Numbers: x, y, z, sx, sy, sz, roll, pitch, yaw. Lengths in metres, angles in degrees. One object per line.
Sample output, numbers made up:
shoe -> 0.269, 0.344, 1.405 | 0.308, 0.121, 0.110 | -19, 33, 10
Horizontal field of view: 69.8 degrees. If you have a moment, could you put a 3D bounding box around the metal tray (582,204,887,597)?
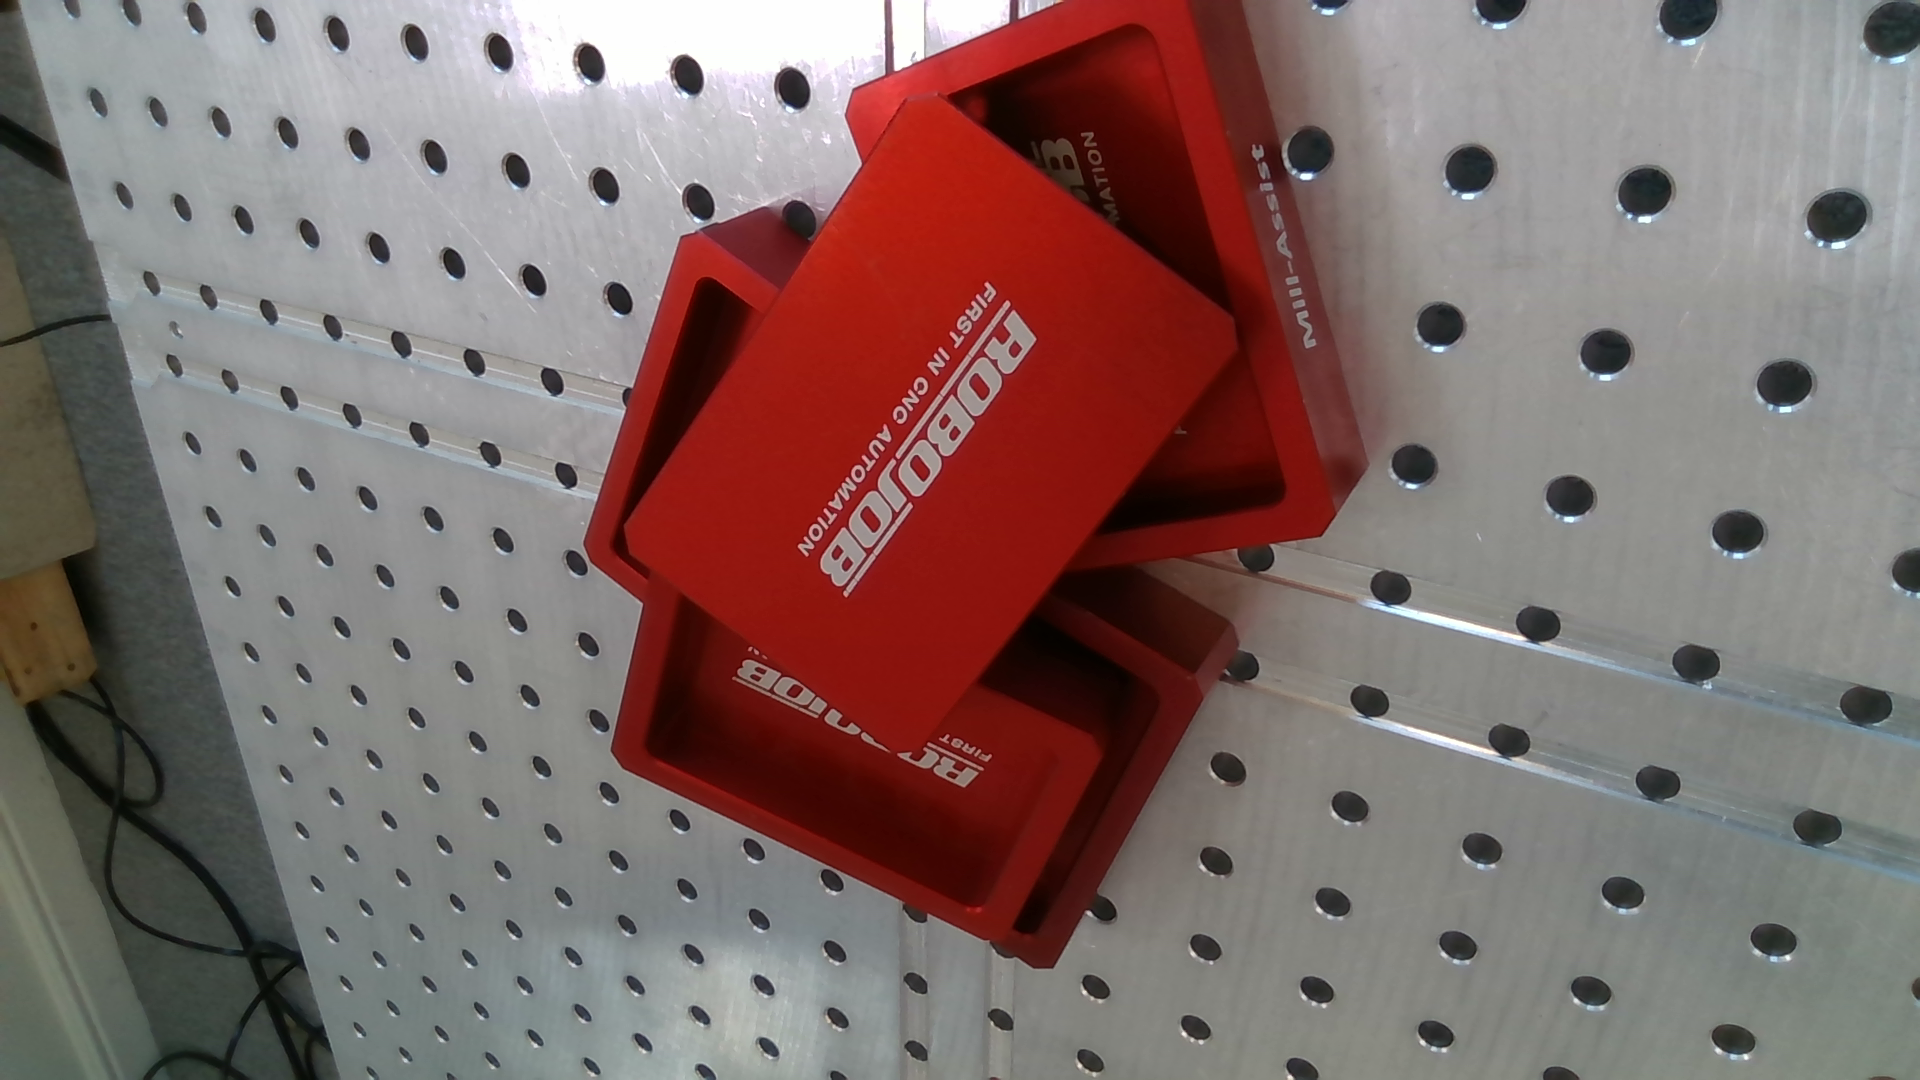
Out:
metal tray -> -0.057, -0.021, 0.412 | 0.090, 0.030, 0.130 | 37, 128, 9

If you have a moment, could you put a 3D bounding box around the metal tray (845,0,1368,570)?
metal tray -> 0.036, -0.060, 0.333 | 0.090, 0.030, 0.130 | -9, 110, 34

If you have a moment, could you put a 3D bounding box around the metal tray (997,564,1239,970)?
metal tray -> 0.015, 0.058, 0.410 | 0.090, 0.030, 0.130 | 31, 126, 14

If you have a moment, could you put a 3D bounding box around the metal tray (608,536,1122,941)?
metal tray -> -0.030, 0.053, 0.395 | 0.130, 0.030, 0.090 | 25, 126, 4

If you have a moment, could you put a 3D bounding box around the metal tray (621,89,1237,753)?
metal tray -> -0.009, -0.026, 0.327 | 0.090, 0.030, 0.130 | 37, 107, 0
